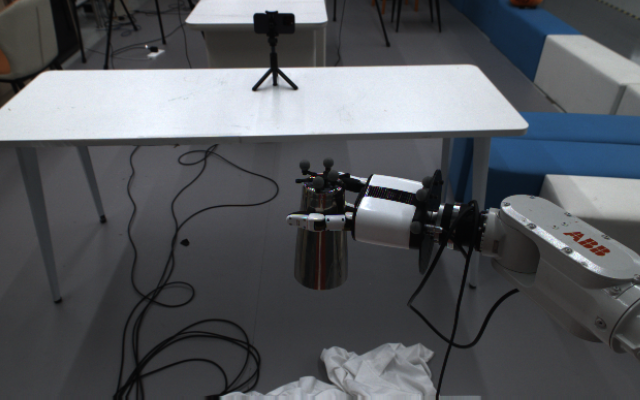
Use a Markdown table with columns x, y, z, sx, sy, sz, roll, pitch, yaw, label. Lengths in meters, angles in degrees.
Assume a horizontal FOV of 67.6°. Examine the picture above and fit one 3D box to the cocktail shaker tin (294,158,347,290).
| x | y | z | sx | sy | sz | roll | pitch | yaw | label |
| --- | --- | --- | --- | --- | --- | --- | --- | --- | --- |
| 0.005 | 0.046 | 0.790 | 0.093 | 0.170 | 0.093 | 1 | 27 | -1 | cocktail shaker tin |
